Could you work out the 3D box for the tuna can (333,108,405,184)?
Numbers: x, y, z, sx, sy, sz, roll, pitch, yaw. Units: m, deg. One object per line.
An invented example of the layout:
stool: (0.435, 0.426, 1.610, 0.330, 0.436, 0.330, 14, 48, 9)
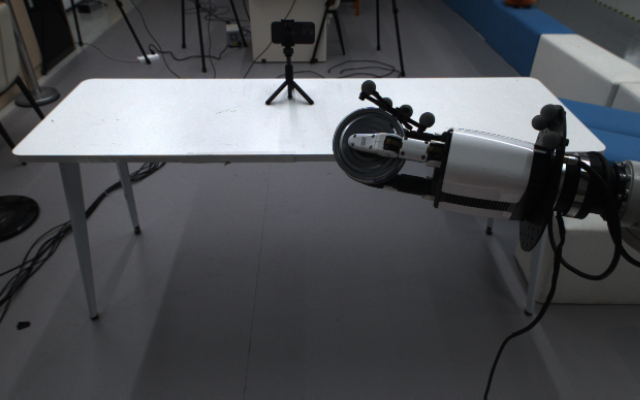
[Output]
tuna can: (0.063, -0.057, 0.560, 0.085, 0.085, 0.034, 12, -4, 14)
